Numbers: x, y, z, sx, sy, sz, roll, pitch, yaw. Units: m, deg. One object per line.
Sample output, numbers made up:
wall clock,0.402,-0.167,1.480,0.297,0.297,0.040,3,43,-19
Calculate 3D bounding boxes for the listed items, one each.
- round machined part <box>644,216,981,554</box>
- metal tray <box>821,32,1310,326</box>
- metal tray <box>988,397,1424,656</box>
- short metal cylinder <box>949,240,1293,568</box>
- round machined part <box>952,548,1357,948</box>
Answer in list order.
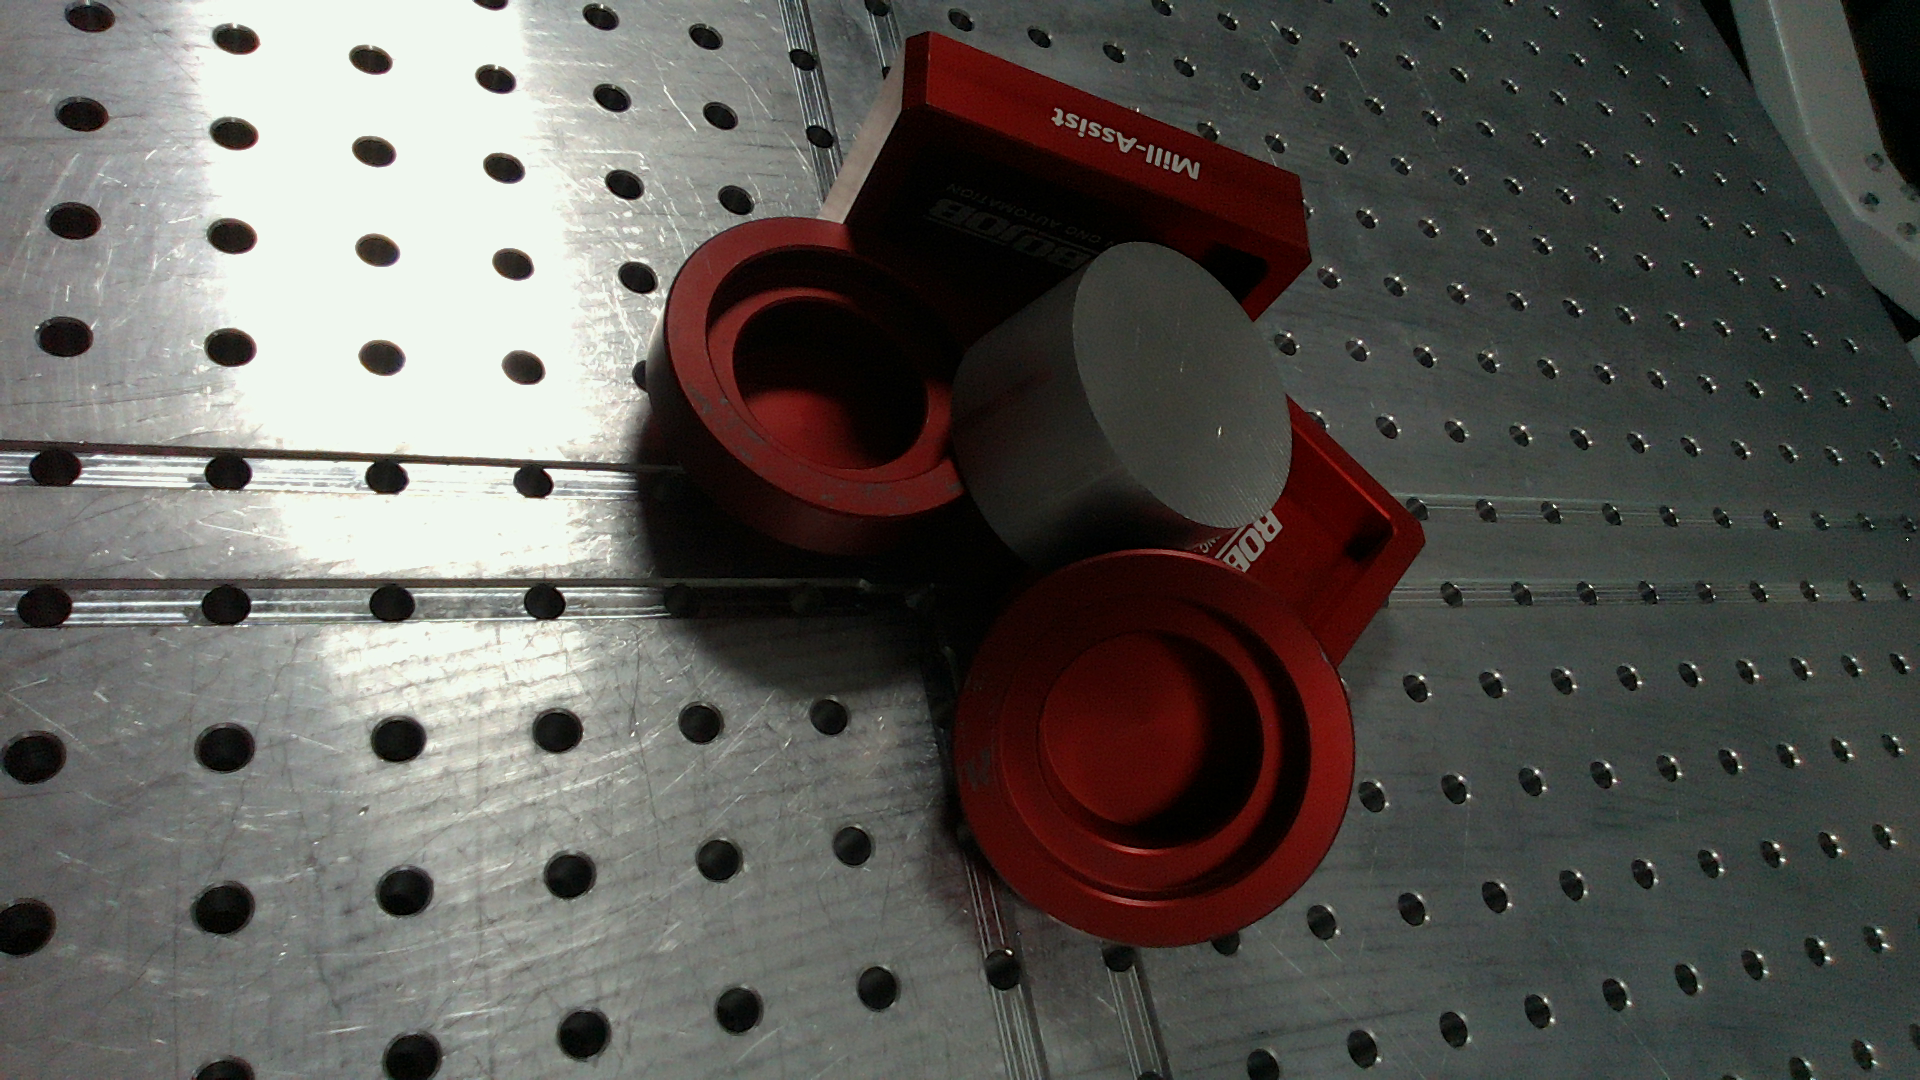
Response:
round machined part,-0.040,-0.039,0.384,0.098,0.042,0.098,14,56,-21
metal tray,0.028,-0.090,0.421,0.130,0.090,0.030,14,56,-20
metal tray,0.080,0.007,0.427,0.090,0.030,0.130,45,51,3
short metal cylinder,0.044,-0.033,0.373,0.080,0.050,0.080,18,60,-34
round machined part,0.049,0.050,0.355,0.098,0.042,0.098,0,92,5
